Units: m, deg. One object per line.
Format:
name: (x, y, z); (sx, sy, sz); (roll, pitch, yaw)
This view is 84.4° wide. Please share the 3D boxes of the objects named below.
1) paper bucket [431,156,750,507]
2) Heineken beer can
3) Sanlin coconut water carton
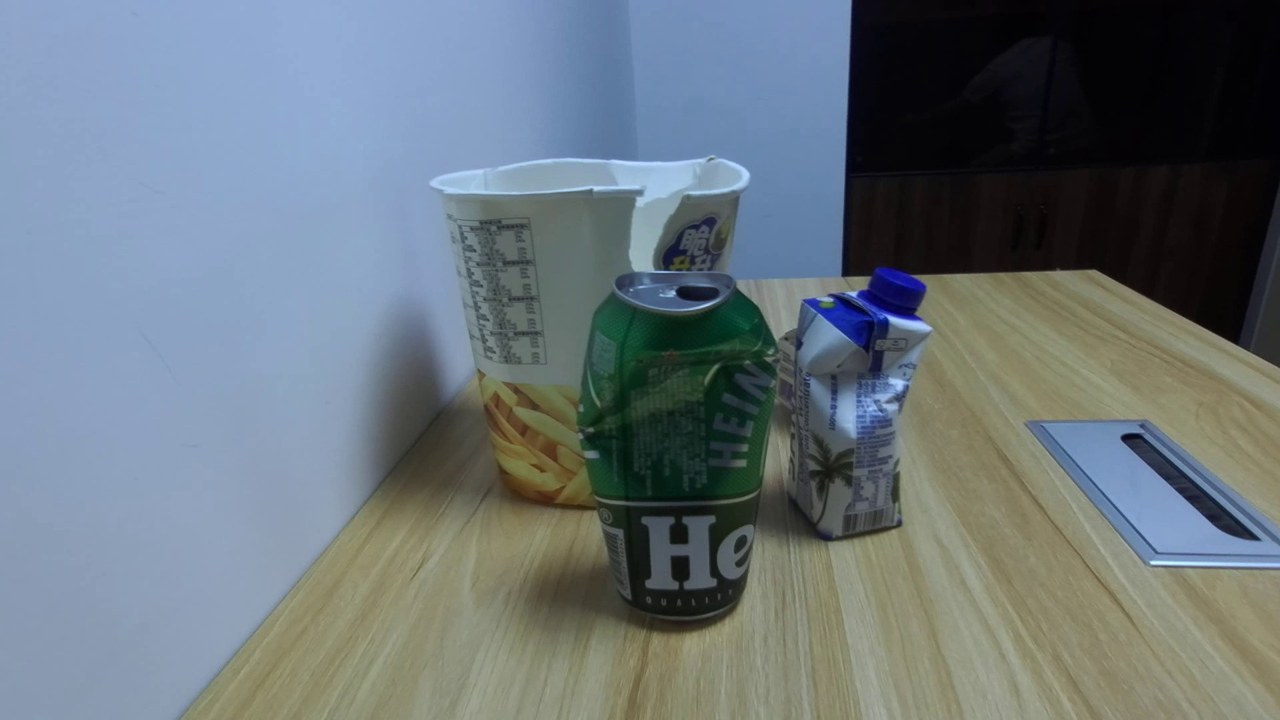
paper bucket: (-0.027, -0.024, 0.459); (0.202, 0.197, 0.146); (3, 23, 19)
Heineken beer can: (0.016, 0.044, 0.335); (0.077, 0.164, 0.066); (14, 24, 39)
Sanlin coconut water carton: (0.118, 0.023, 0.389); (0.070, 0.144, 0.060); (-7, 23, -12)
